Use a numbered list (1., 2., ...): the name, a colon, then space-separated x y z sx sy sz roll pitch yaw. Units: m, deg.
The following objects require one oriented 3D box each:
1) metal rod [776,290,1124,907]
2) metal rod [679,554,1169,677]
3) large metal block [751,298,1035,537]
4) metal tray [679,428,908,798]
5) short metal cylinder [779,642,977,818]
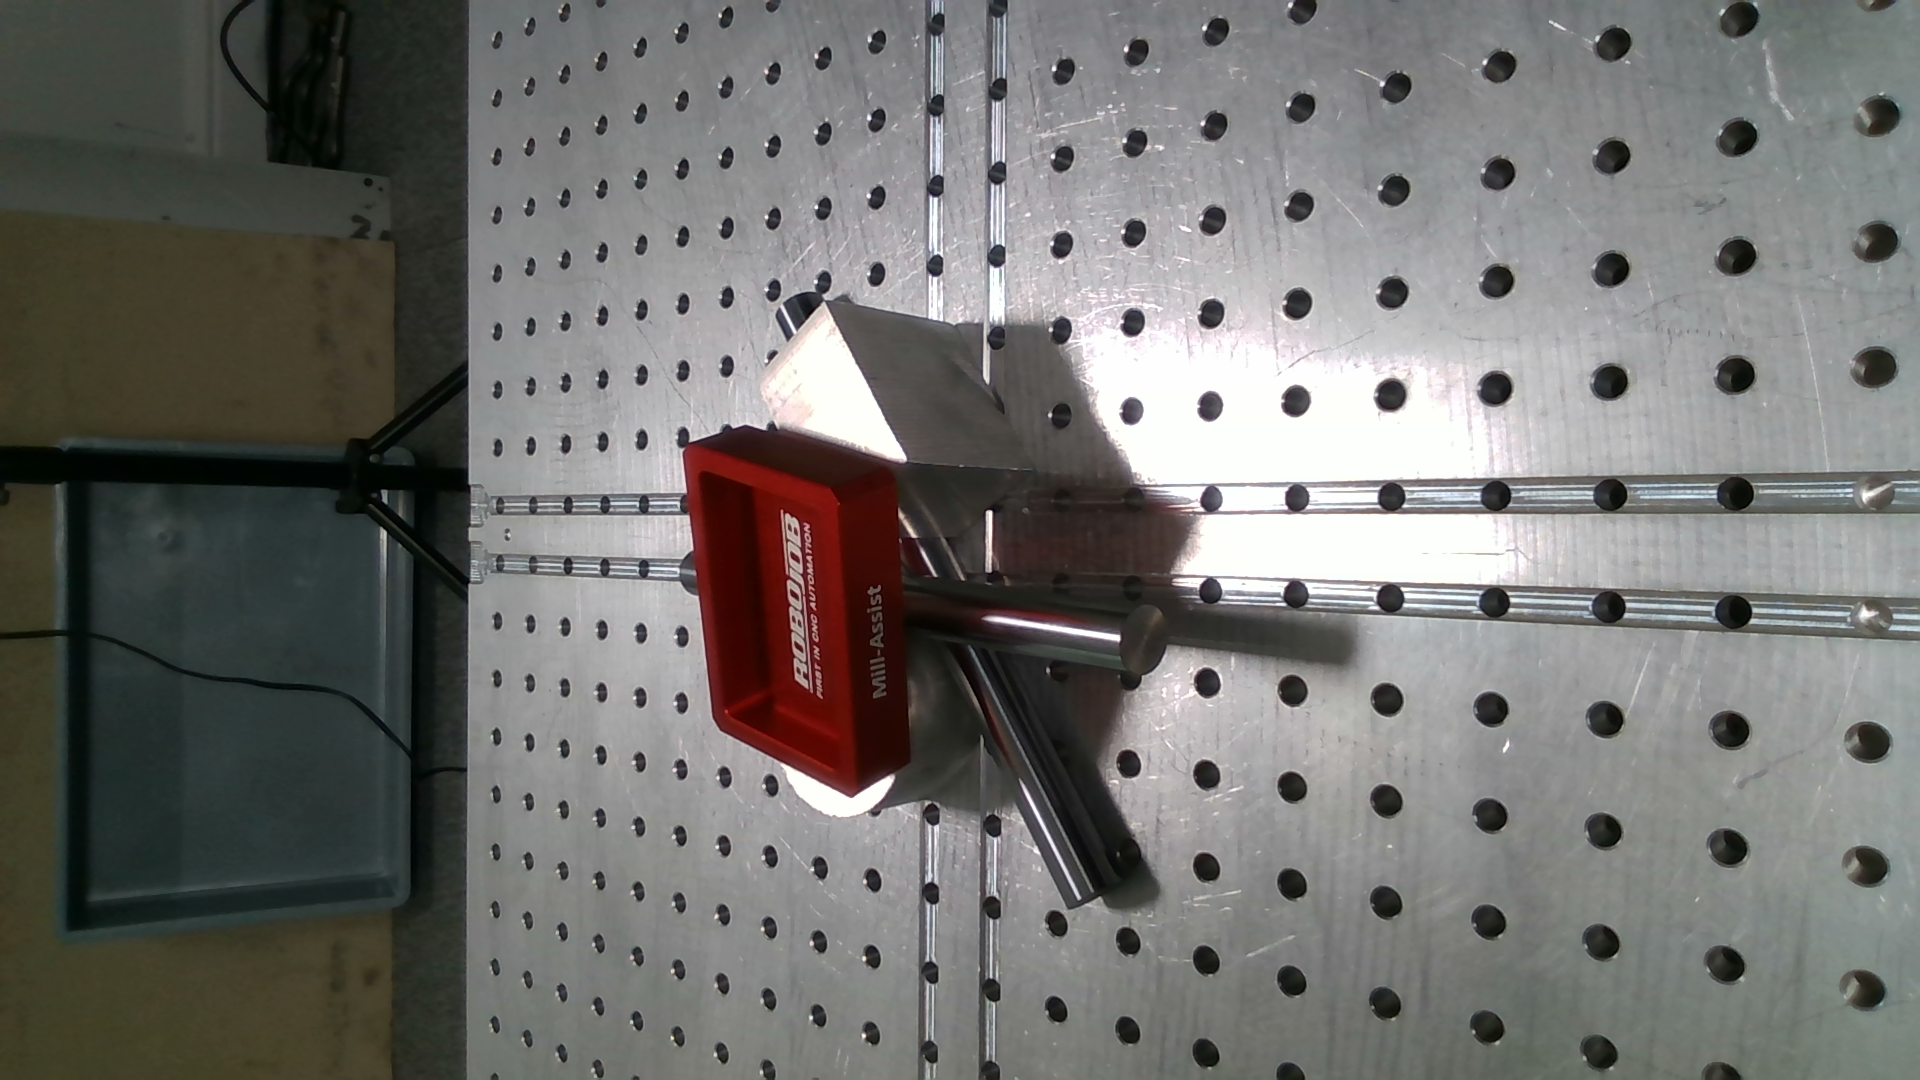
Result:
1. metal rod: -0.011 0.015 0.595 0.025 0.025 0.299 -41 65 33
2. metal rod: -0.034 0.025 0.584 0.300 0.025 0.025 5 94 49
3. large metal block: -0.027 -0.048 0.571 0.050 0.080 0.080 -42 65 33
4. metal tray: -0.065 0.027 0.545 0.090 0.030 0.130 18 120 39
5. short metal cylinder: -0.038 0.077 0.600 0.080 0.050 0.080 0 91 40
